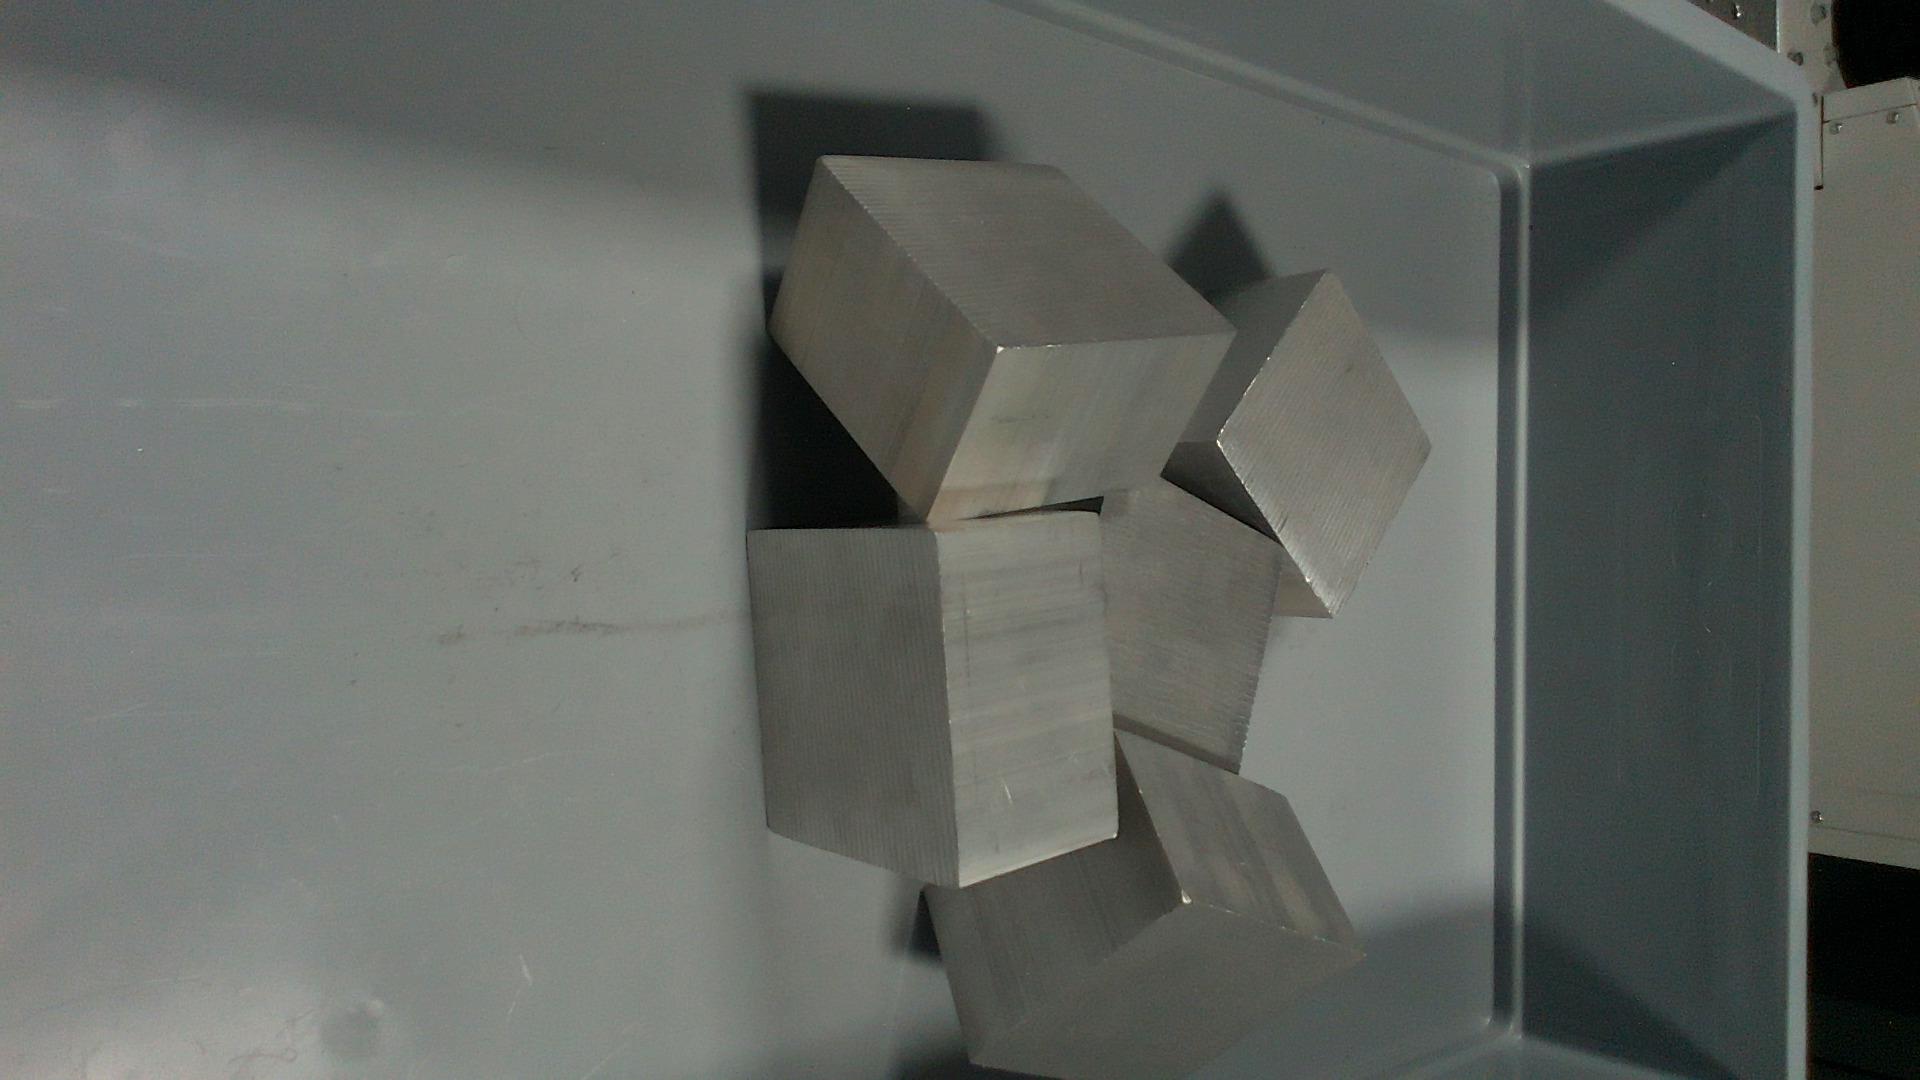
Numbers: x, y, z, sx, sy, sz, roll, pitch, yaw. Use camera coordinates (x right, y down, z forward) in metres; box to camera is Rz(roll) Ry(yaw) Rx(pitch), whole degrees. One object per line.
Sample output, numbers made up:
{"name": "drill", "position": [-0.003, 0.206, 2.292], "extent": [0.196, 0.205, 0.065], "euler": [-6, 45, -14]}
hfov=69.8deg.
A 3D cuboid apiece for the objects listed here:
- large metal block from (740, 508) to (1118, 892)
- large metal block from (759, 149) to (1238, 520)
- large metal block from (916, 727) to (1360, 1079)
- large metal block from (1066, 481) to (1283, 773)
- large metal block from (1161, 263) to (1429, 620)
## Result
{"name": "large metal block", "position": [-0.009, 0.035, 0.345], "extent": [0.050, 0.080, 0.080], "euler": [-7, 95, -40]}
{"name": "large metal block", "position": [0.008, -0.055, 0.351], "extent": [0.080, 0.080, 0.050], "euler": [-10, 138, -39]}
{"name": "large metal block", "position": [0.048, 0.105, 0.384], "extent": [0.080, 0.080, 0.050], "euler": [26, 32, -38]}
{"name": "large metal block", "position": [0.044, 0.027, 0.409], "extent": [0.080, 0.050, 0.080], "euler": [24, 75, -37]}
{"name": "large metal block", "position": [0.102, -0.031, 0.456], "extent": [0.080, 0.050, 0.080], "euler": [51, 60, -28]}
